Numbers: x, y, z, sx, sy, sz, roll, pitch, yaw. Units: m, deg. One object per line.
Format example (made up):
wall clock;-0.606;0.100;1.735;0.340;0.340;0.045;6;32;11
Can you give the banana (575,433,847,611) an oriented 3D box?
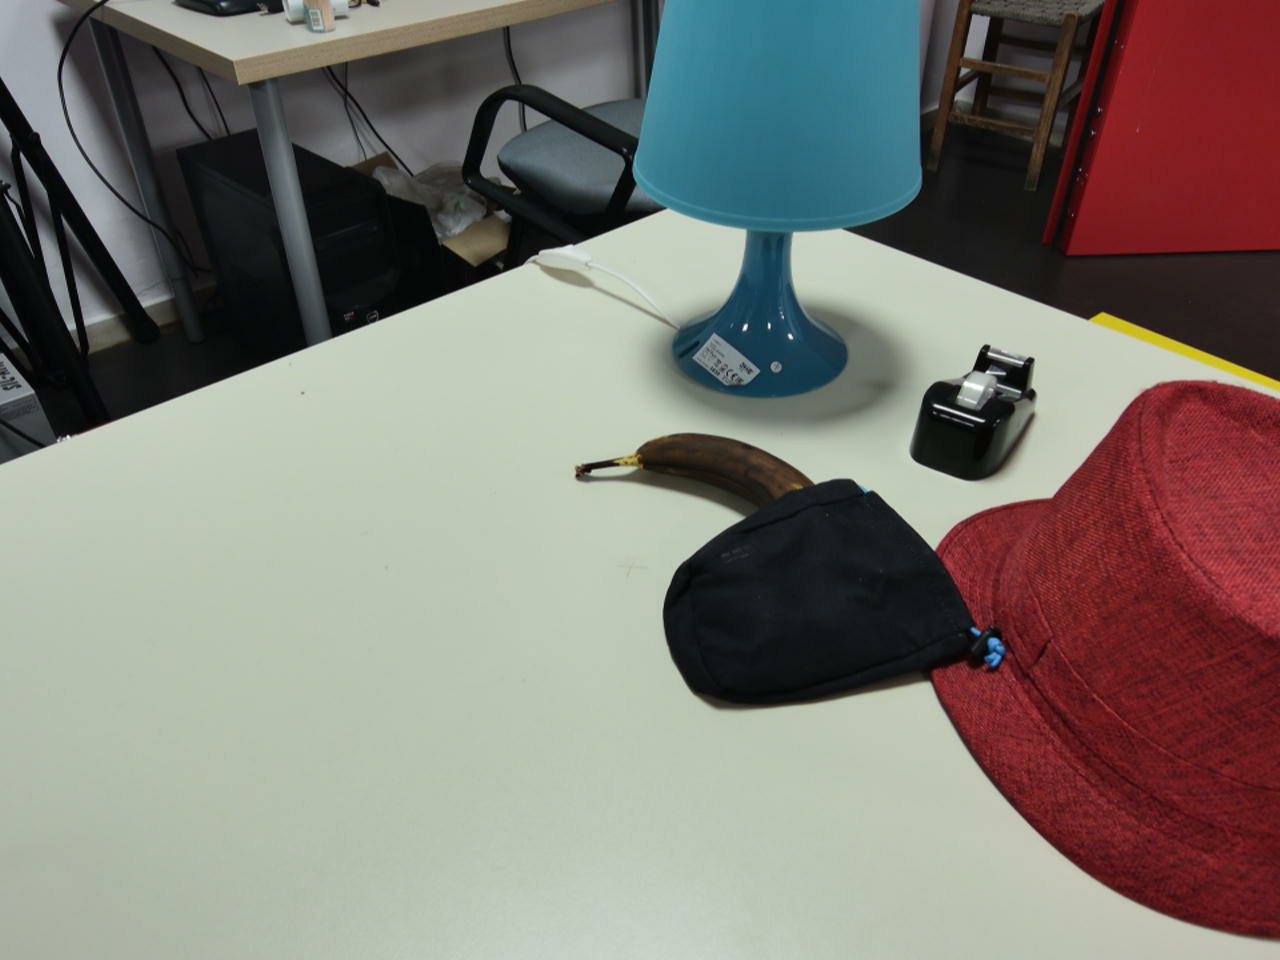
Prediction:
banana;0.053;0.009;0.596;0.091;0.034;0.188;-28;44;-31
